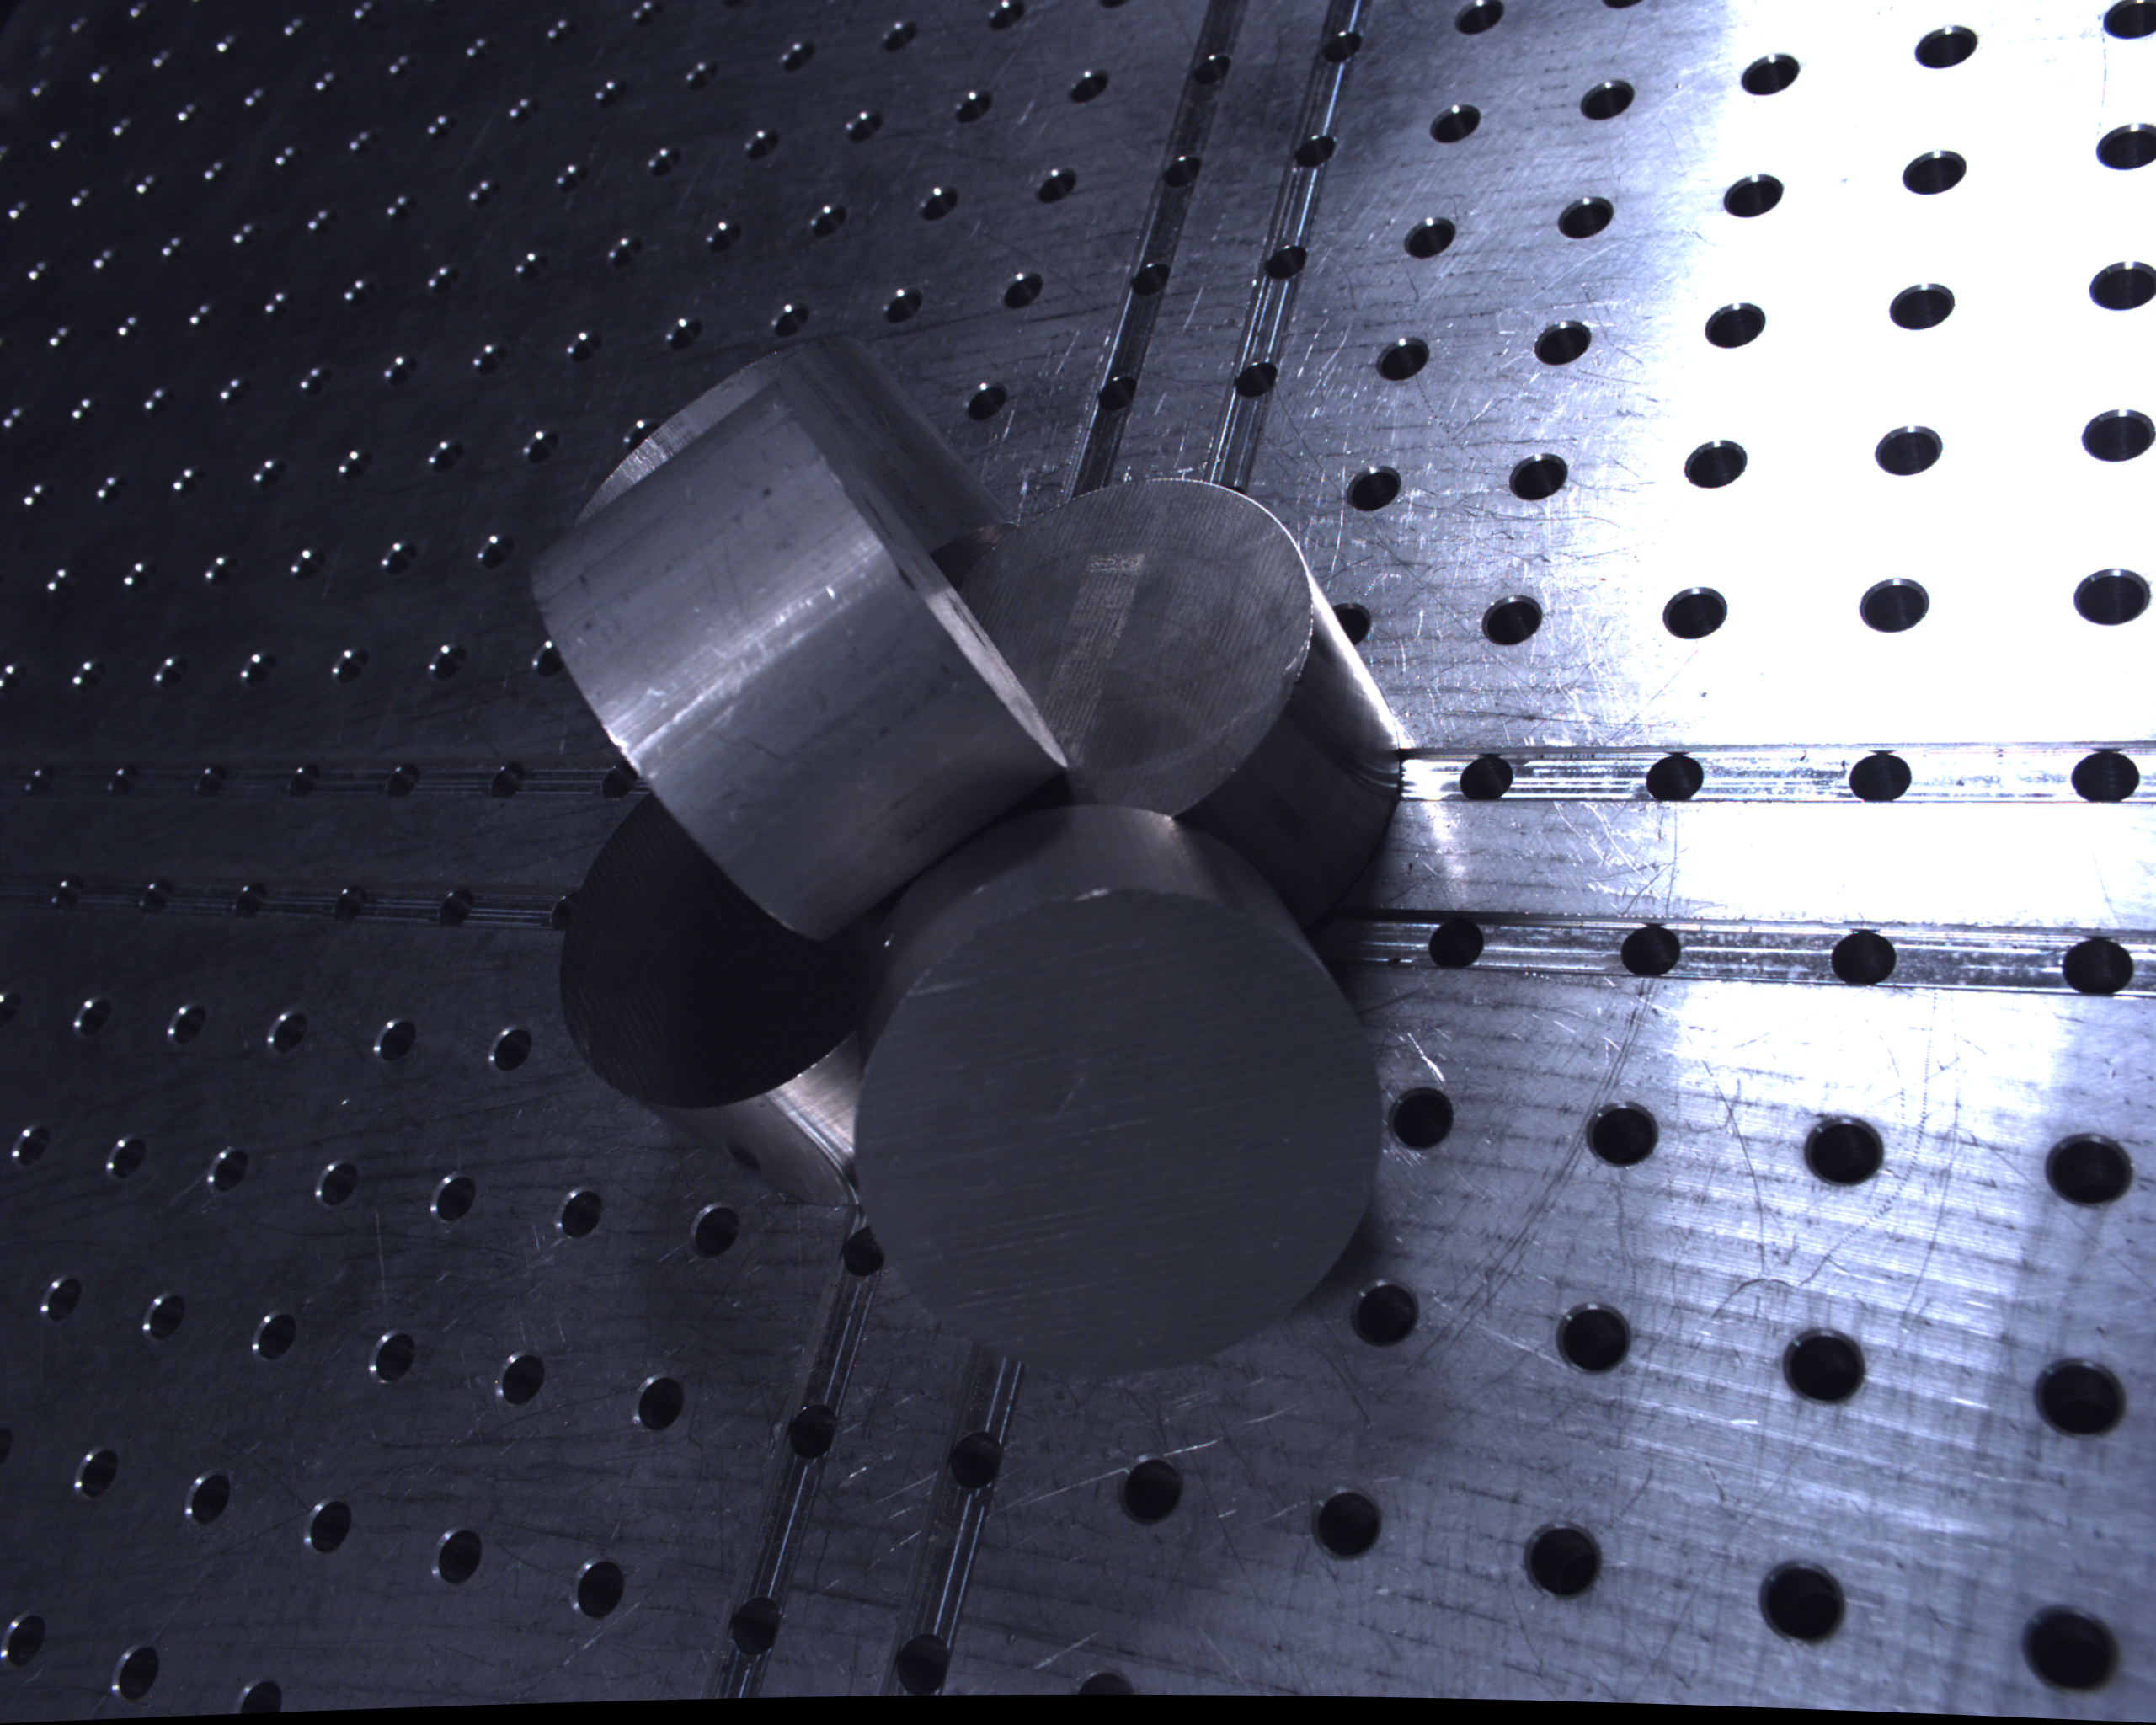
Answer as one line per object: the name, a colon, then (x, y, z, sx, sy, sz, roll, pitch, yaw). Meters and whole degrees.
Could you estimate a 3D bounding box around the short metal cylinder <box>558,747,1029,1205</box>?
short metal cylinder: (-0.052, 0.020, 0.405, 0.080, 0.050, 0.080, -13, 56, 20)

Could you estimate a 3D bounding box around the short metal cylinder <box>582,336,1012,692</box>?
short metal cylinder: (-0.059, -0.062, 0.431, 0.080, 0.080, 0.050, -39, 85, 1)

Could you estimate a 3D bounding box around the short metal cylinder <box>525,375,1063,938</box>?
short metal cylinder: (-0.046, -0.034, 0.351, 0.050, 0.080, 0.080, -36, 52, 4)

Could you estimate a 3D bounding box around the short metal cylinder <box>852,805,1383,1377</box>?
short metal cylinder: (0.004, 0.035, 0.339, 0.080, 0.080, 0.050, -35, 16, 5)

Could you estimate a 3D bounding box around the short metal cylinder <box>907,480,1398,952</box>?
short metal cylinder: (0.015, -0.026, 0.398, 0.080, 0.050, 0.080, -13, 56, 20)
